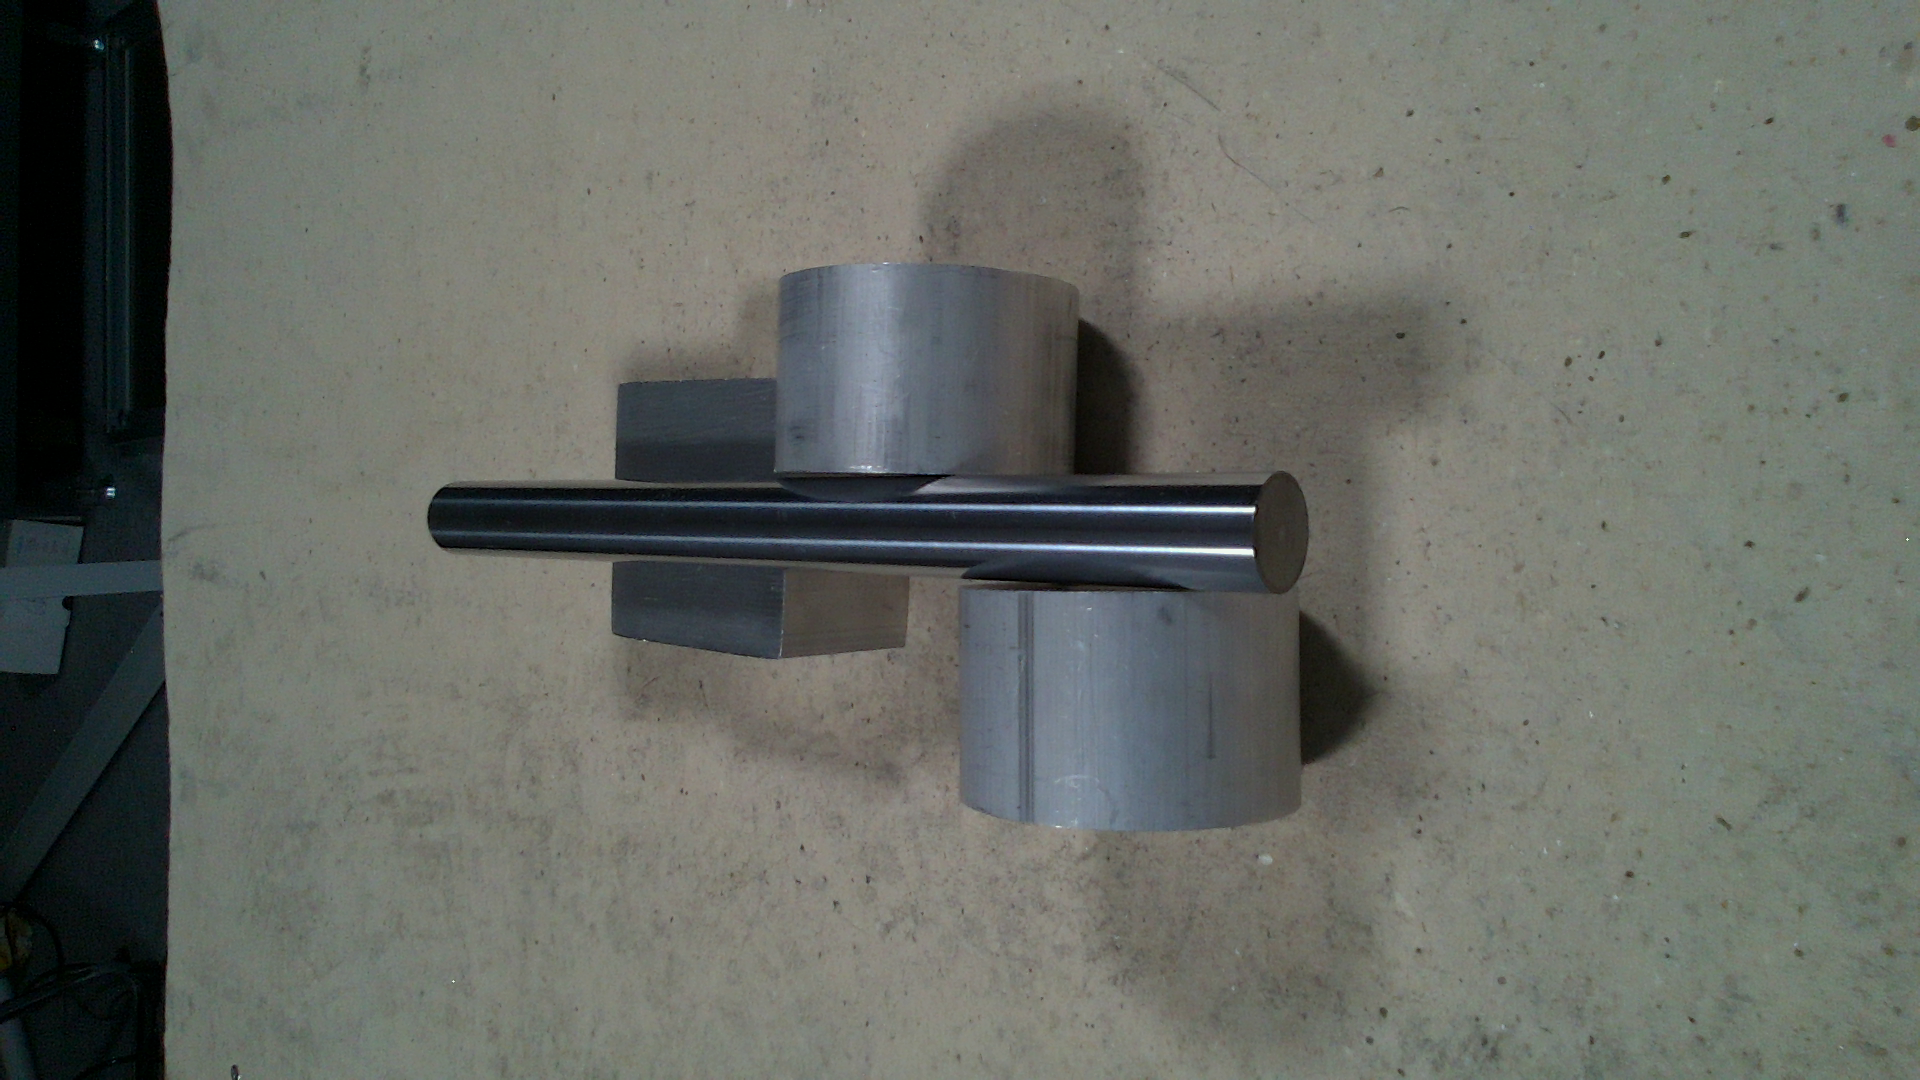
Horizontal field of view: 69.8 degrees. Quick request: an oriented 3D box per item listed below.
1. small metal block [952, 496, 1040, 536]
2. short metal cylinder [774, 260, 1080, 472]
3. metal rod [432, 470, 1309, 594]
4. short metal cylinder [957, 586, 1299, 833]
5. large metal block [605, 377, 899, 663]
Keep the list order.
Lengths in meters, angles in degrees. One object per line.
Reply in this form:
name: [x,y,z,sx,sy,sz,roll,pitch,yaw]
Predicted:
small metal block: [0.023,-0.003,0.358,0.050,0.050,0.025,1,91,40]
short metal cylinder: [-0.009,-0.042,0.367,0.080,0.080,0.050,3,92,40]
metal rod: [-0.051,-0.004,0.371,0.299,0.025,0.025,1,91,39]
short metal cylinder: [0.039,0.036,0.325,0.080,0.080,0.050,0,90,40]
large metal block: [-0.064,-0.008,0.429,0.080,0.050,0.080,4,93,40]
